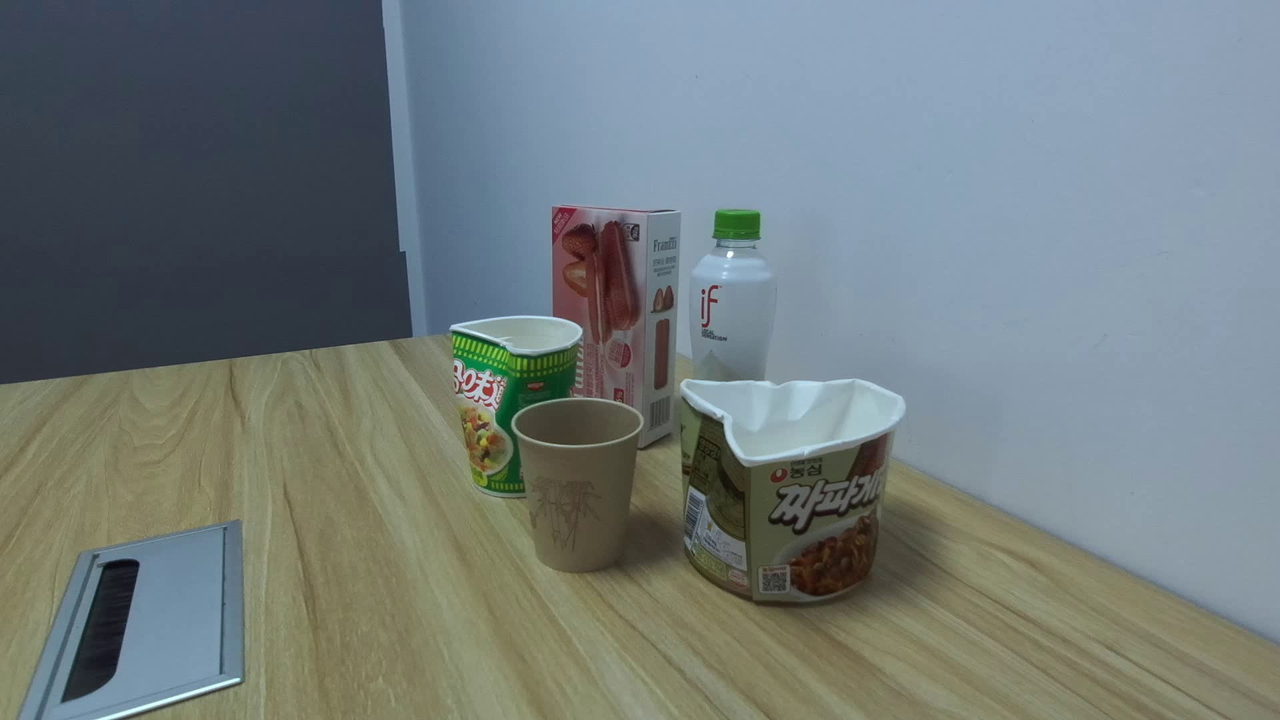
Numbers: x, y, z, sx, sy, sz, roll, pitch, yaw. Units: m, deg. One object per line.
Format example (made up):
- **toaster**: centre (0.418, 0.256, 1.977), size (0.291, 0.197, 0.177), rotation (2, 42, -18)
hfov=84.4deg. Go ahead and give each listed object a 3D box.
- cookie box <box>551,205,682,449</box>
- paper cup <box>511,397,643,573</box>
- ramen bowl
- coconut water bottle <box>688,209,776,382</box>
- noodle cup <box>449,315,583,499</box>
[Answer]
- **cookie box**: centre (-0.020, -0.029, 0.573), size (0.095, 0.184, 0.048), rotation (11, 18, 35)
- **paper cup**: centre (-0.036, 0.073, 0.411), size (0.075, 0.082, 0.075), rotation (1, 18, 0)
- **ramen bowl**: centre (0.091, 0.066, 0.410), size (0.134, 0.097, 0.113), rotation (-6, 18, -19)
- **coconut water bottle**: centre (0.063, -0.007, 0.494), size (0.063, 0.188, 0.063), rotation (1, 14, 0)
- **noodle cup**: centre (-0.082, 0.032, 0.498), size (0.087, 0.109, 0.093), rotation (-6, 19, -21)
